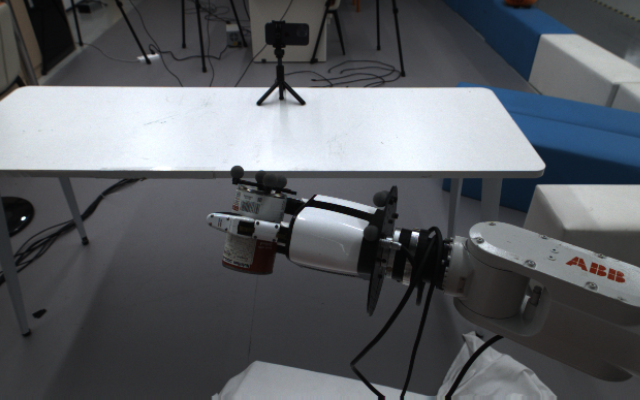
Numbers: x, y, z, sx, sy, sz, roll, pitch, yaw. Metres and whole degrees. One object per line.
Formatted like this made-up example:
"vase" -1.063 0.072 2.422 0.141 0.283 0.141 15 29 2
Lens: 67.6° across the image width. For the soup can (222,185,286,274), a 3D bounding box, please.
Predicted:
"soup can" -0.081 0.038 0.616 0.067 0.101 0.067 12 2 0
